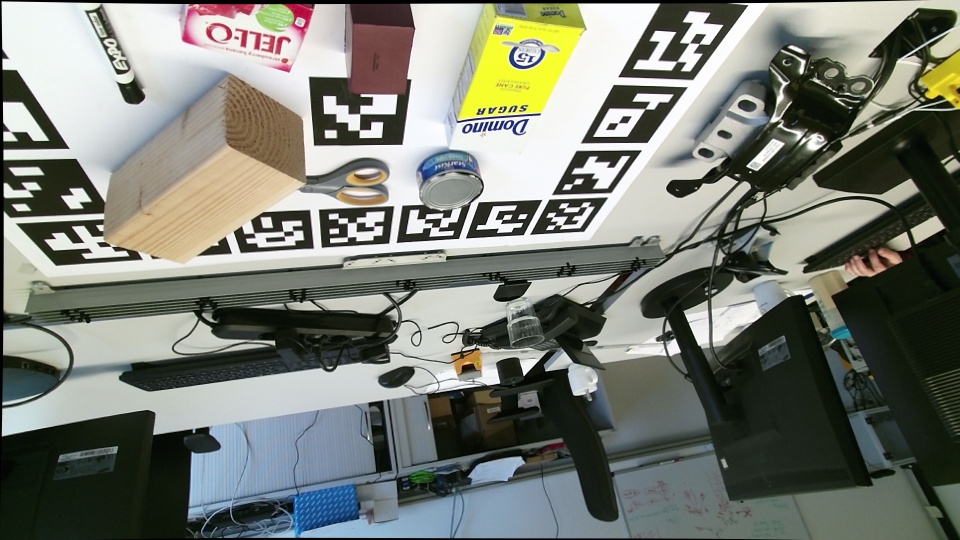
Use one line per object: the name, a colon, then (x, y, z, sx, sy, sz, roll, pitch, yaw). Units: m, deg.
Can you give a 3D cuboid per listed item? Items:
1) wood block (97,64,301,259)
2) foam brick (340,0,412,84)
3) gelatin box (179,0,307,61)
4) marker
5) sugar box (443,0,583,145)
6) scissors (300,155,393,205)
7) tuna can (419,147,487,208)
wood block: (-0.295, -0.104, 0.558, 0.207, 0.090, 0.090, -27, 151, 24)
foam brick: (-0.095, -0.214, 0.478, 0.053, 0.051, 0.078, -5, 150, -19)
gelatin box: (-0.196, -0.222, 0.446, 0.090, 0.030, 0.073, 5, 146, -34)
marker: (-0.309, -0.195, 0.448, 0.020, 0.019, 0.121, -5, 149, -19)
sugar box: (0.026, -0.208, 0.567, 0.093, 0.045, 0.176, -2, 150, -21)
scissors: (-0.205, -0.111, 0.662, 0.203, 0.016, 0.088, -3, 150, -25)
tuna can: (-0.035, -0.121, 0.701, 0.086, 0.033, 0.086, -12, 152, -6)
